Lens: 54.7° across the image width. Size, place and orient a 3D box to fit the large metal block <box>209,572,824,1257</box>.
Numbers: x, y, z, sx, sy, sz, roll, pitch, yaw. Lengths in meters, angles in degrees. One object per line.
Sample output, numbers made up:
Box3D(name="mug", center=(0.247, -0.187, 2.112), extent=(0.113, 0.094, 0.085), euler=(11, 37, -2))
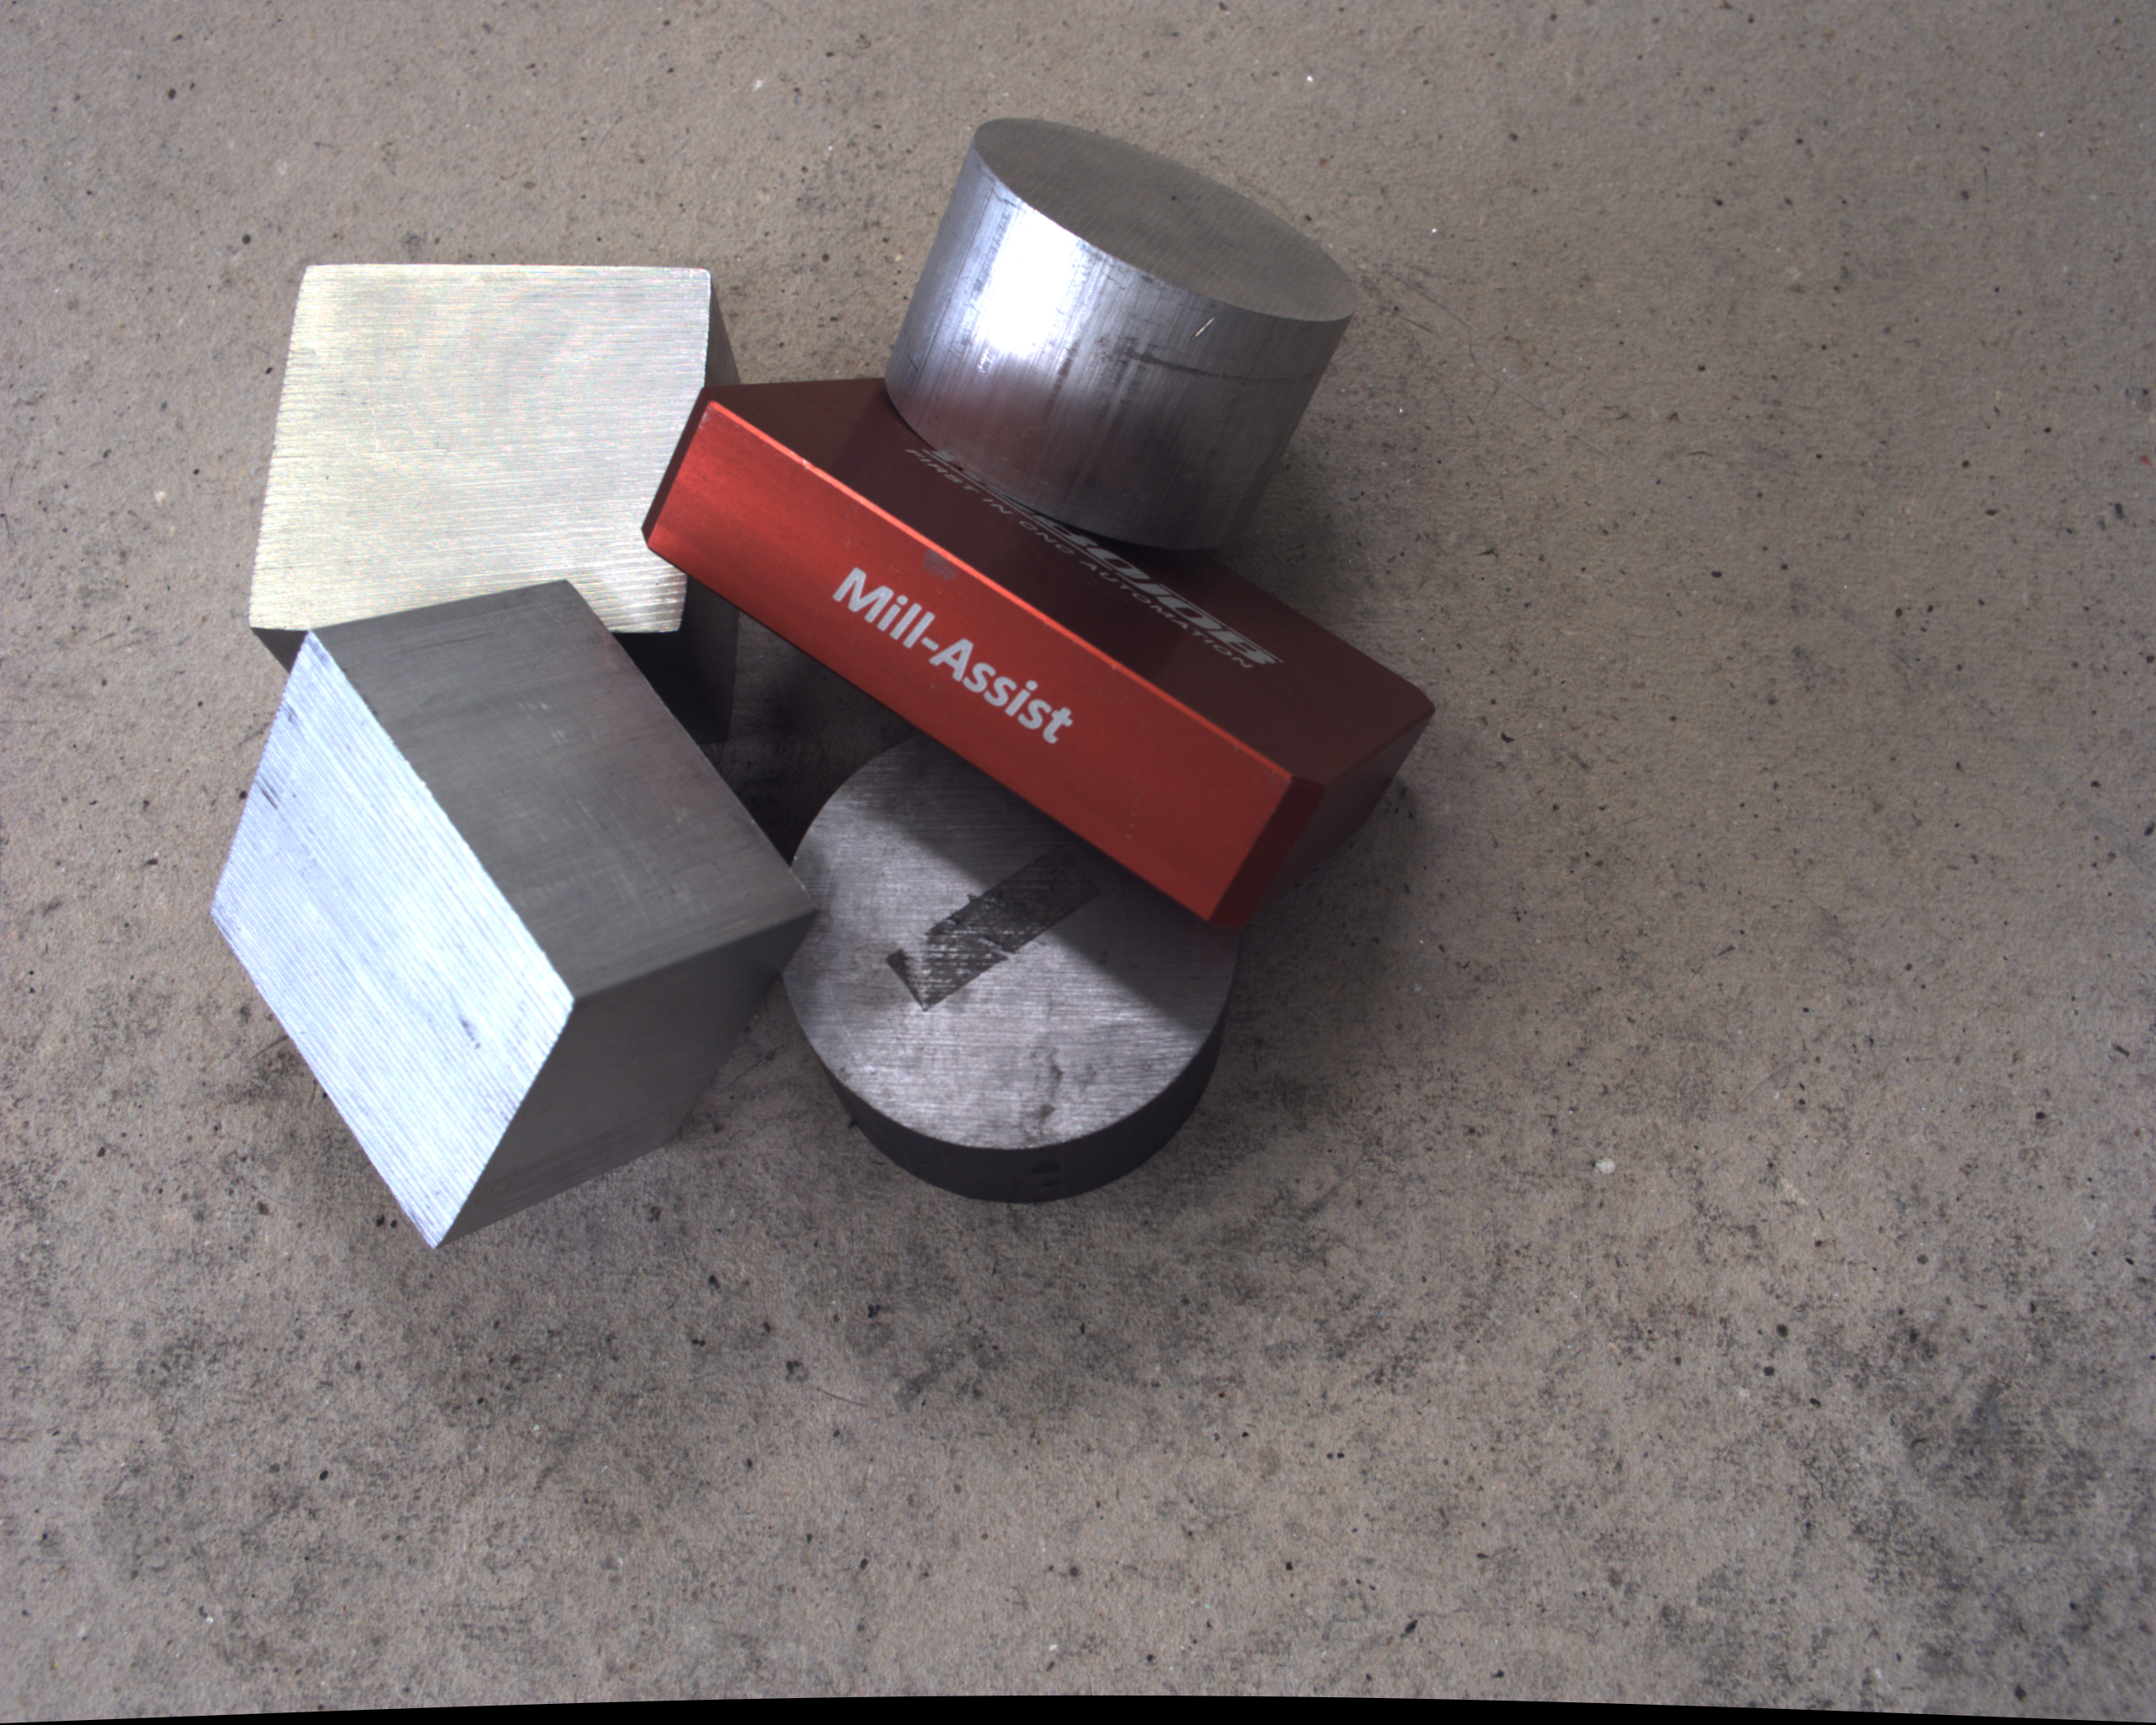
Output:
Box3D(name="large metal block", center=(-0.102, 0.009, 0.369), extent=(0.050, 0.080, 0.080), euler=(-22, 68, -46))

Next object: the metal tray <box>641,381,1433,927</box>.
Box3D(name="metal tray", center=(-0.004, -0.045, 0.393), extent=(0.130, 0.090, 0.030), euler=(34, 113, 11))

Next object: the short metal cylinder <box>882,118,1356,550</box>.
Box3D(name="short metal cylinder", center=(0.007, -0.105, 0.414), extent=(0.080, 0.050, 0.080), euler=(19, 33, -12))

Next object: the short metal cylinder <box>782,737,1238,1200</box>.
Box3D(name="short metal cylinder", center=(-0.012, 0.019, 0.390), extent=(0.081, 0.050, 0.080), euler=(0, 70, 0))

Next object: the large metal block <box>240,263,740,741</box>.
Box3D(name="large metal block", center=(-0.113, -0.071, 0.419), extent=(0.080, 0.050, 0.080), euler=(1, 70, 0))
